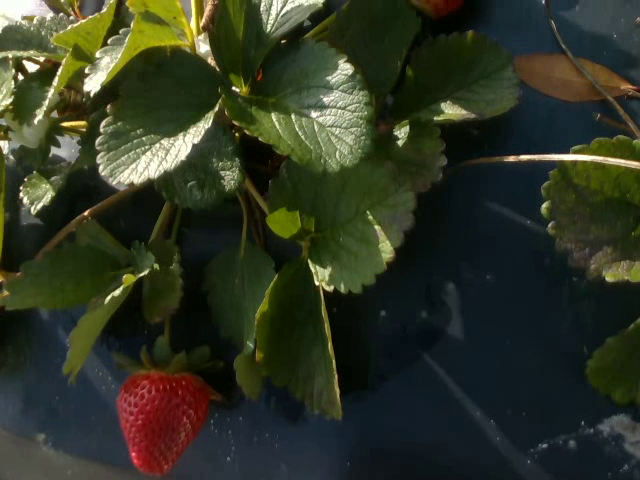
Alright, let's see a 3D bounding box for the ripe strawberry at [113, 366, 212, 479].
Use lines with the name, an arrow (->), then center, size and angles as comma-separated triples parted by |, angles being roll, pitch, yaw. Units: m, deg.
ripe strawberry -> -0.060, 0.069, 0.249 | 0.041, 0.047, 0.041 | -6, -23, 40
